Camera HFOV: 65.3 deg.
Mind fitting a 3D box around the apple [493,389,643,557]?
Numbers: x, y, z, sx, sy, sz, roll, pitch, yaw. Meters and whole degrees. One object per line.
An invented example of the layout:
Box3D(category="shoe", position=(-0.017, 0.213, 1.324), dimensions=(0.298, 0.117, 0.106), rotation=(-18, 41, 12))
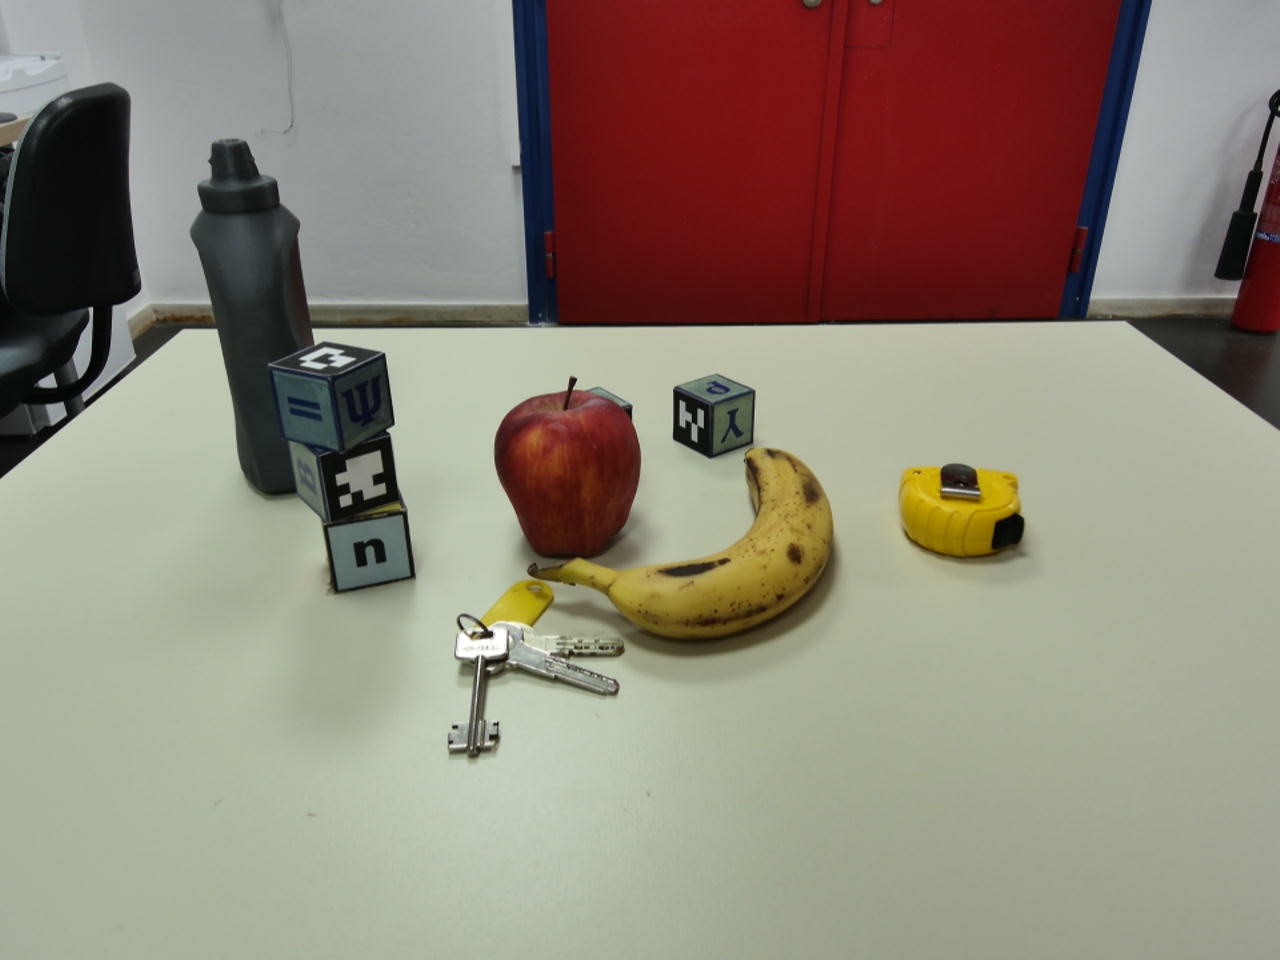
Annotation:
Box3D(category="apple", position=(-0.039, -0.010, 0.521), dimensions=(0.083, 0.090, 0.083), rotation=(-1, 26, 1))
